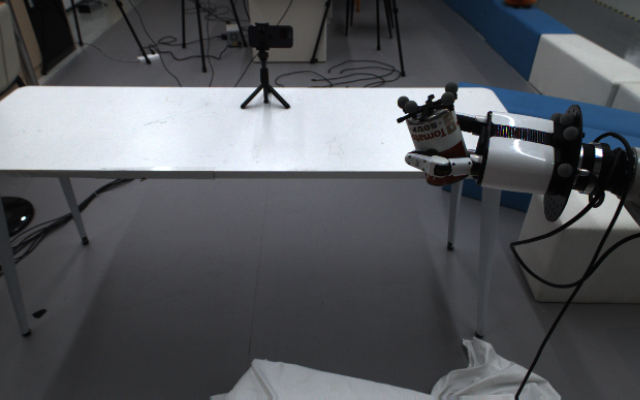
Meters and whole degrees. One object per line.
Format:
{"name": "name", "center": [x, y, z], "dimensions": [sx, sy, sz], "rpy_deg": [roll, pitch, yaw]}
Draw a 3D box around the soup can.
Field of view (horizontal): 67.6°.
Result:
{"name": "soup can", "center": [0.169, -0.081, 0.682], "dimensions": [0.067, 0.101, 0.067], "rpy_deg": [-21, 24, 10]}
